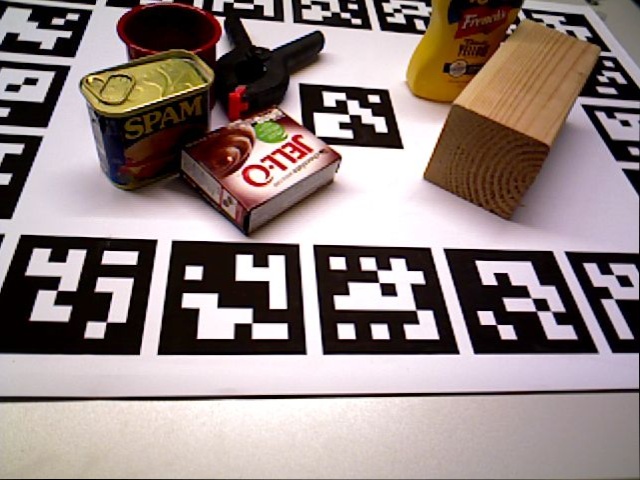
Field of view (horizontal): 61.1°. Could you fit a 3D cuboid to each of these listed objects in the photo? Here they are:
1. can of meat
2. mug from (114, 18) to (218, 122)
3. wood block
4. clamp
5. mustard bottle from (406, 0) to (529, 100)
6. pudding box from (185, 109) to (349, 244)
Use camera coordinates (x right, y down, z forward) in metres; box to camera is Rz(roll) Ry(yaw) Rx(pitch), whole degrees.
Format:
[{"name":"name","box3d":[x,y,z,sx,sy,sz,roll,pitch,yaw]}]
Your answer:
[{"name":"can of meat","box3d":[-0.138,-0.095,0.442,0.100,0.086,0.057,-25,61,-27]},{"name":"mug","box3d":[-0.141,-0.160,0.531,0.093,0.083,0.115,19,52,4]},{"name":"wood block","box3d":[0.198,-0.117,0.529,0.090,0.093,0.201,29,50,15]},{"name":"clamp","box3d":[-0.065,-0.185,0.572,0.121,0.037,0.162,17,52,1]},{"name":"mustard bottle","box3d":[0.157,-0.234,0.542,0.095,0.196,0.058,-3,52,-12]},{"name":"pudding box","box3d":[-0.044,-0.058,0.466,0.090,0.039,0.111,41,54,21]}]
